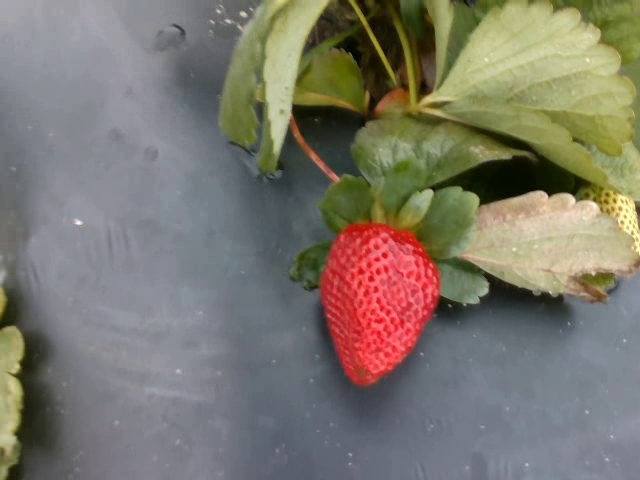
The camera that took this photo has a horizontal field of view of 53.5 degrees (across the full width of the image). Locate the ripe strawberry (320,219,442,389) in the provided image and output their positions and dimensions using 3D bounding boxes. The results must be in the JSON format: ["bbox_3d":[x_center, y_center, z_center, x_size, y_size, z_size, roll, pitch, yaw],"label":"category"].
[{"bbox_3d":[0.015,0.022,0.205,0.049,0.064,0.046,38,-47,-18],"label":"ripe strawberry"}]
